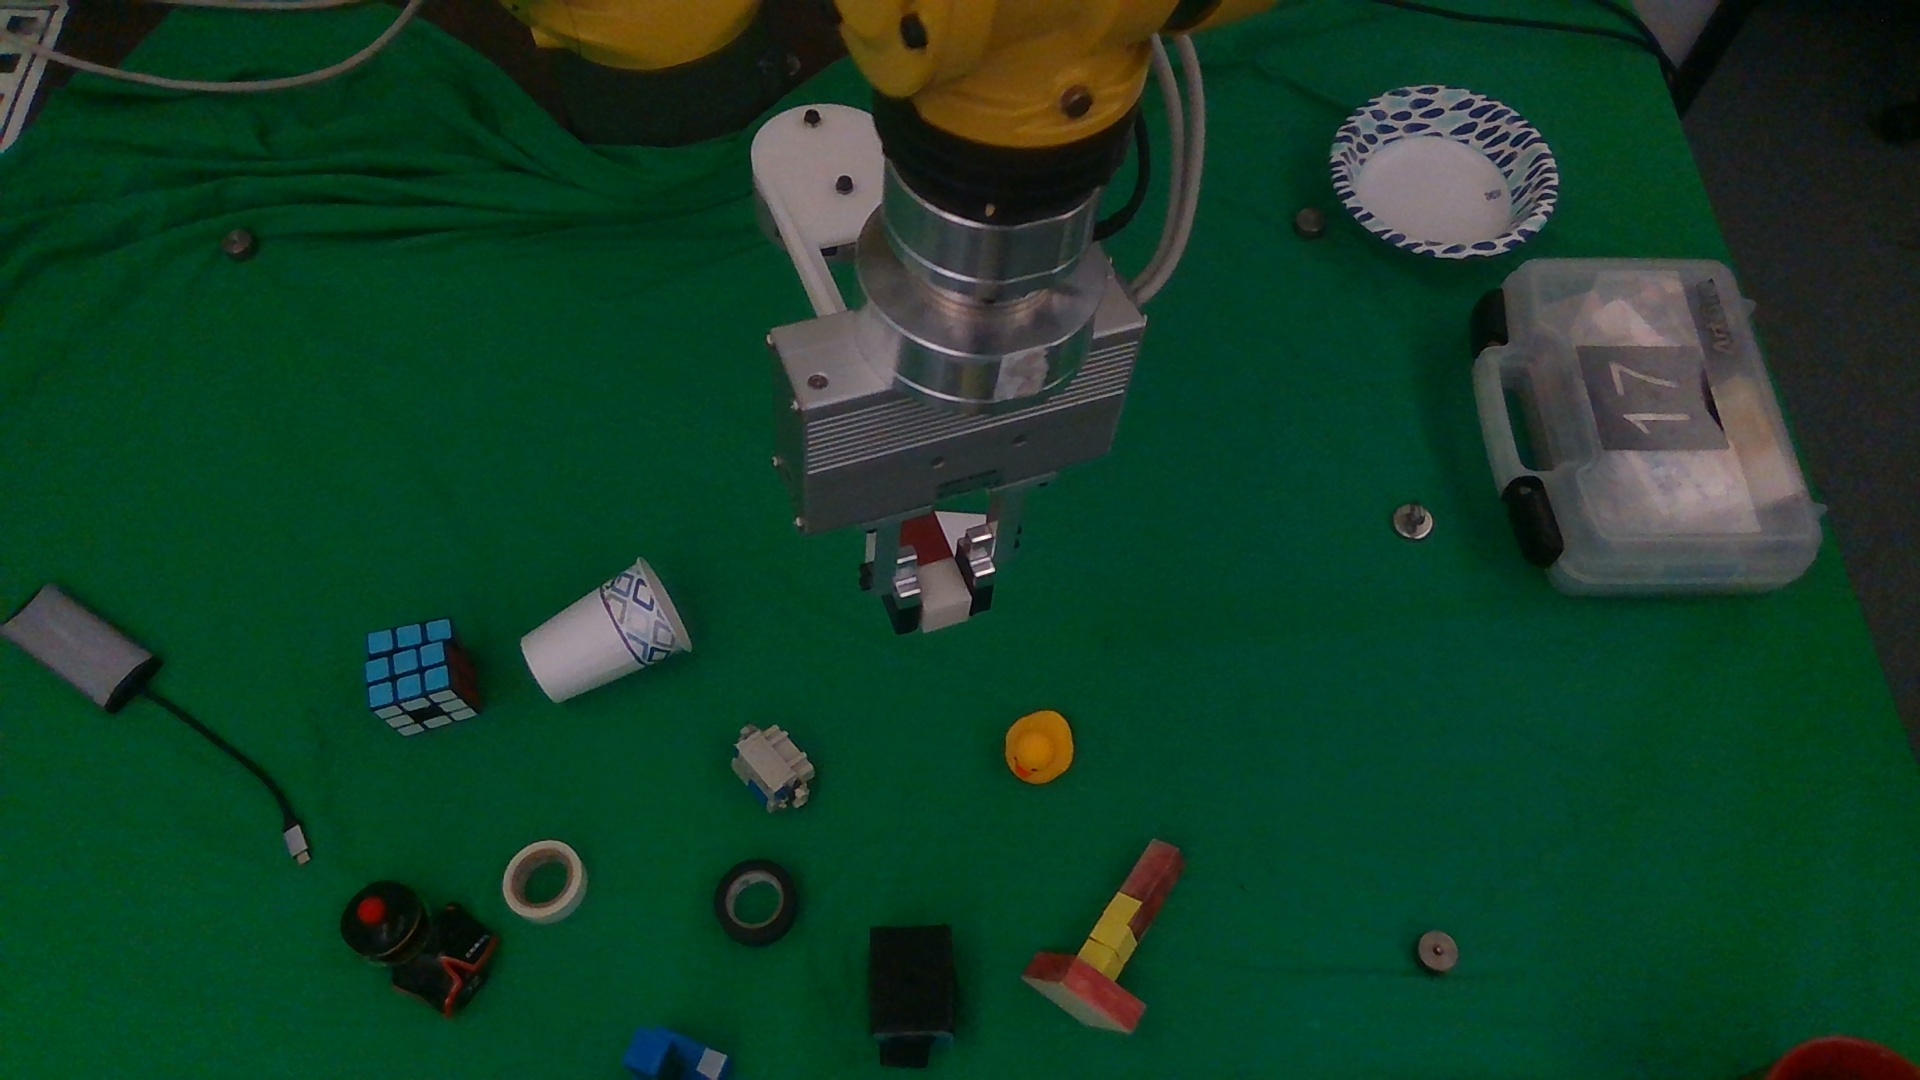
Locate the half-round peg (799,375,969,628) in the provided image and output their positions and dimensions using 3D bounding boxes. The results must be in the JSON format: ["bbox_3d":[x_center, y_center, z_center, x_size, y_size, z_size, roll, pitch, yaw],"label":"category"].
[{"bbox_3d":[-0.028,-0.019,0.590,0.054,0.031,0.122,-16,61,-13],"label":"half-round peg"}]

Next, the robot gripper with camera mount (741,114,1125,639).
[{"bbox_3d":[-0.039,-0.075,0.550,0.119,0.158,0.193,-18,58,-14],"label":"robot gripper with camera mount"}]
